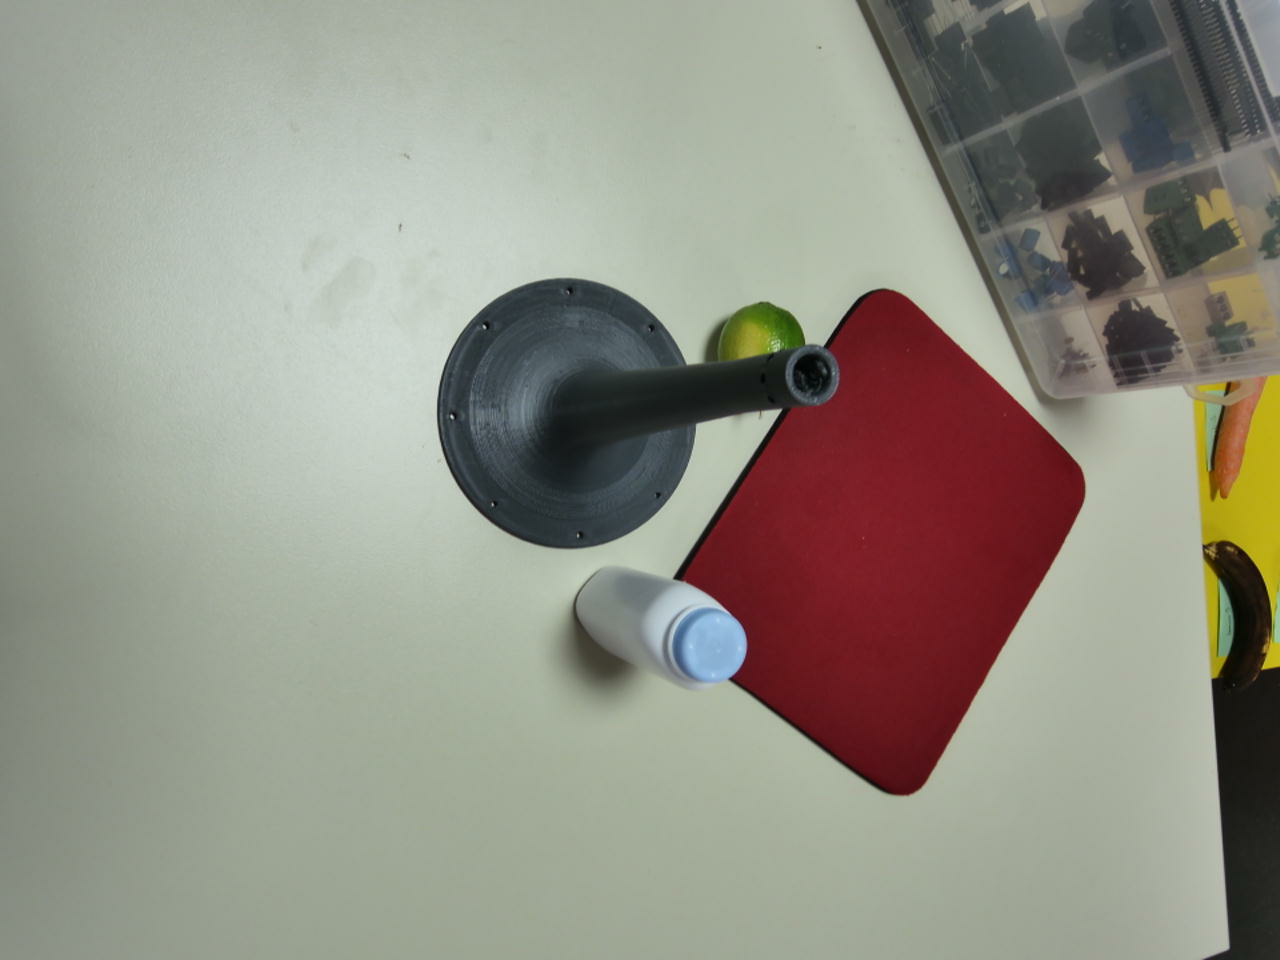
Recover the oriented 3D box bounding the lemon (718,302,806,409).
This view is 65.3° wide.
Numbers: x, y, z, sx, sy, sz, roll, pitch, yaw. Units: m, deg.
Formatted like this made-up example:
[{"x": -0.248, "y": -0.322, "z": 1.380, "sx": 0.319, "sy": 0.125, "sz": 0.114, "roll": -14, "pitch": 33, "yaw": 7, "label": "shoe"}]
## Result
[{"x": 0.070, "y": -0.073, "z": 0.579, "sx": 0.055, "sy": 0.050, "sz": 0.054, "roll": -47, "pitch": 107, "yaw": -15, "label": "lemon"}]
